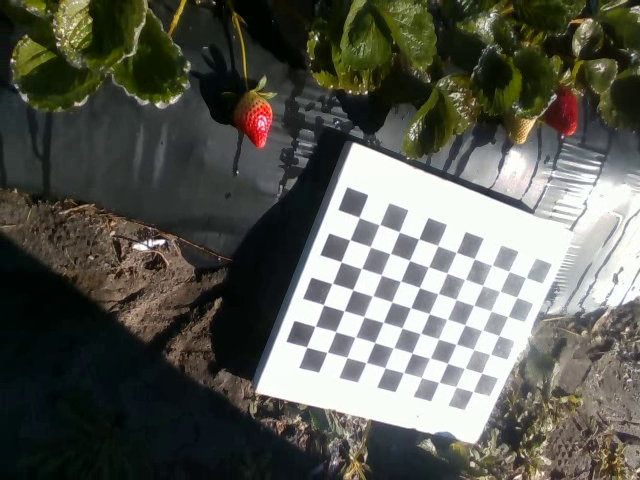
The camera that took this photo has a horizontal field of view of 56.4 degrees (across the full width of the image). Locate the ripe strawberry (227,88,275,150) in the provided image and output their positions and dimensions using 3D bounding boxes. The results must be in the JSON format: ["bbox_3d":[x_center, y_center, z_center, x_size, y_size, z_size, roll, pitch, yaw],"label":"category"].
[{"bbox_3d":[-0.056,-0.104,0.516,0.039,0.053,0.041,-4,0,-16],"label":"ripe strawberry"}]
